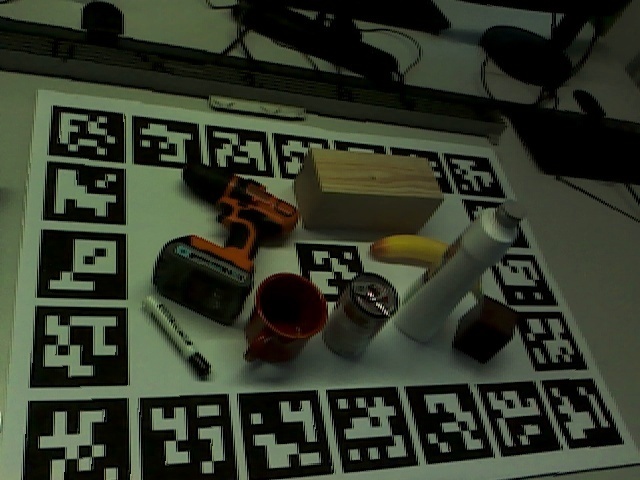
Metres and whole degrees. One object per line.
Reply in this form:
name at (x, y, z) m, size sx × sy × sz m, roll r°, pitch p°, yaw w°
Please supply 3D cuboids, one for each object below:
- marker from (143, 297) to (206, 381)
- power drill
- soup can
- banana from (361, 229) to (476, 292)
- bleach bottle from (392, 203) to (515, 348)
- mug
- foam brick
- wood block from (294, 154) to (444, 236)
marker at (-0.177, 0.121, 0.756) m, size 0.019 × 0.019 × 0.121 m, roll -27°, pitch 67°, yaw -35°
power drill at (-0.135, -0.003, 0.855) m, size 0.184 × 0.057 × 0.187 m, roll 28°, pitch 46°, yaw -4°
soup can at (0.045, 0.098, 0.803) m, size 0.067 × 0.102 × 0.068 m, roll 14°, pitch 44°, yaw -14°
banana at (0.158, 0.021, 0.964) m, size 0.197 × 0.039 × 0.074 m, roll 17°, pitch 62°, yaw -12°
bleach bottle at (0.178, 0.039, 0.816) m, size 0.068 × 0.251 × 0.102 m, roll 26°, pitch 46°, yaw -1°
mug at (-0.059, 0.105, 0.773) m, size 0.093 × 0.081 × 0.117 m, roll 38°, pitch 51°, yaw 6°
foam brick at (0.231, 0.133, 0.881) m, size 0.053 × 0.078 × 0.051 m, roll 28°, pitch 45°, yaw 3°
wood block at (0.074, -0.067, 0.971) m, size 0.205 × 0.091 × 0.090 m, roll 2°, pitch 53°, yaw -22°
